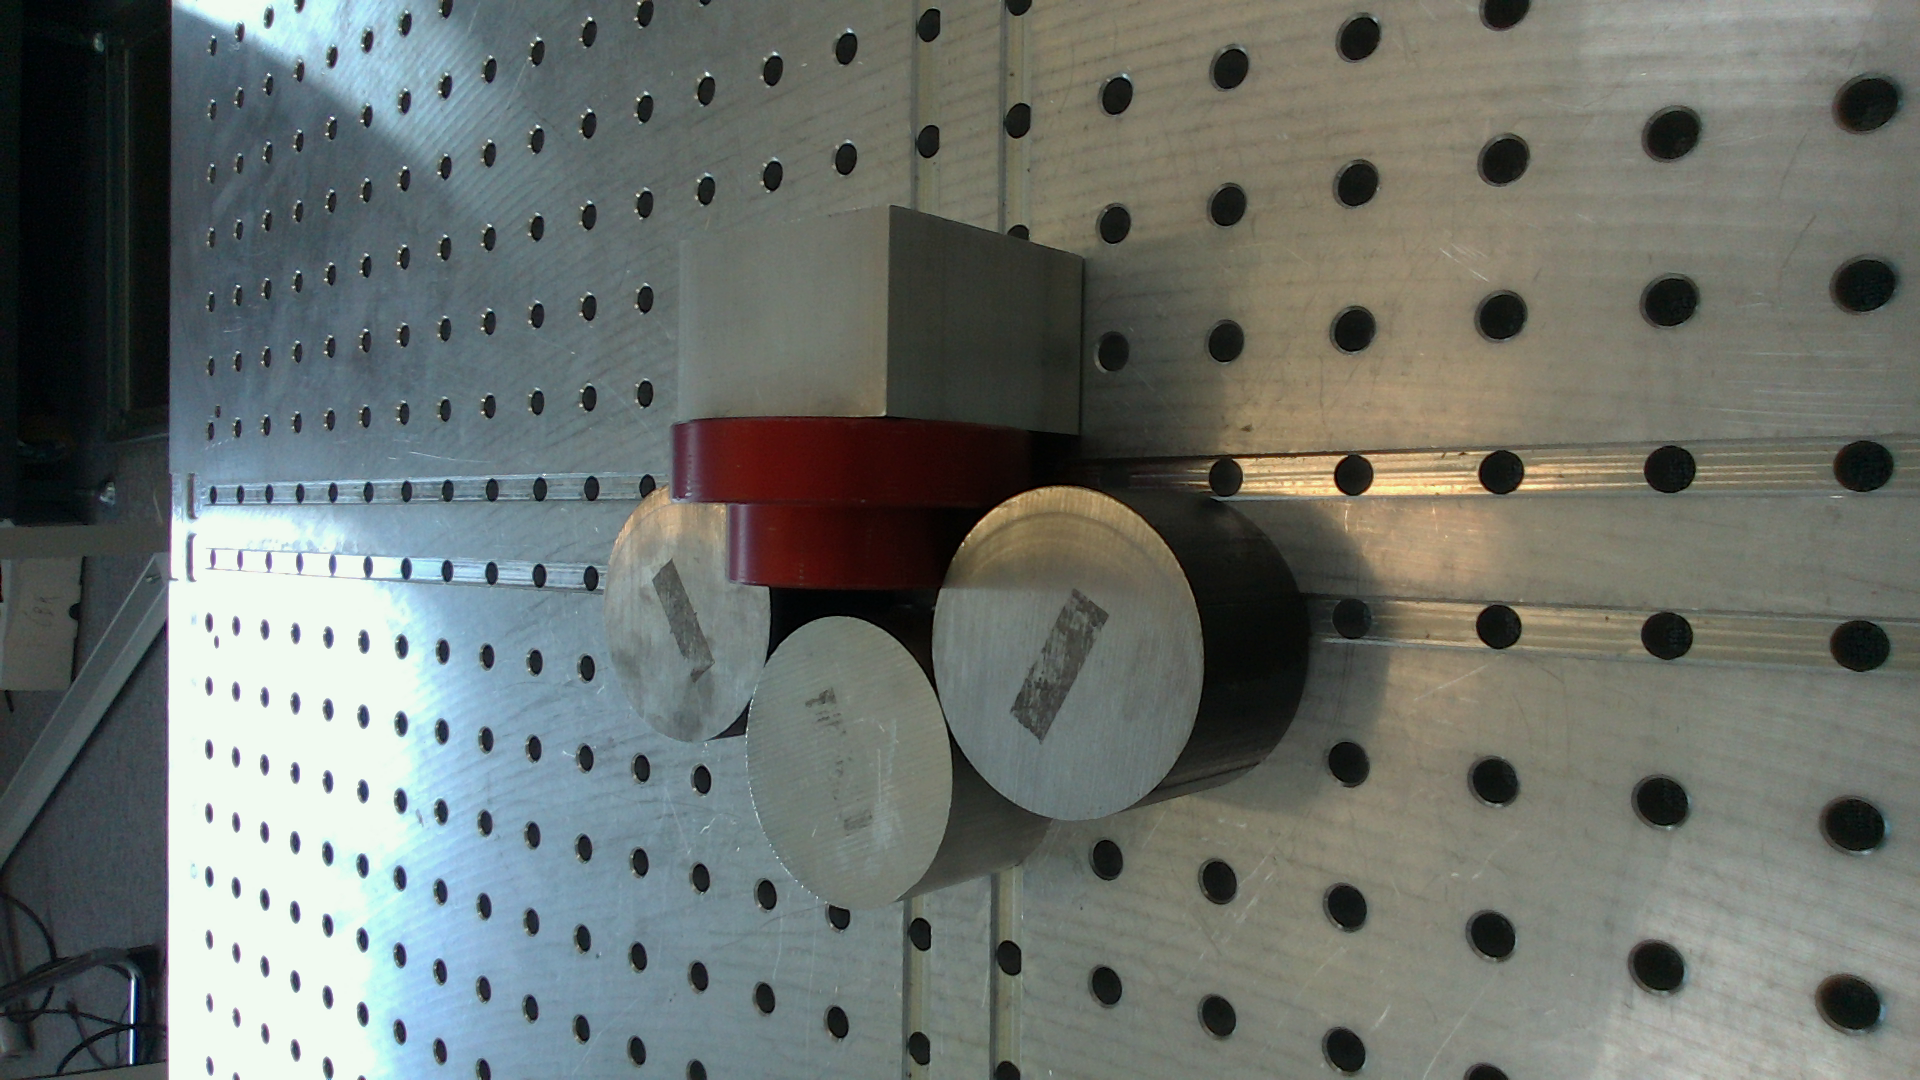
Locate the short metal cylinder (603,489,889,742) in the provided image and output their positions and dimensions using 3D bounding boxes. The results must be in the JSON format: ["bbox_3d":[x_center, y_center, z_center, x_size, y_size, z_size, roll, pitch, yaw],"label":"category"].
[{"bbox_3d":[-0.069,0.022,0.440,0.080,0.050,0.080,0,90,40],"label":"short metal cylinder"}]

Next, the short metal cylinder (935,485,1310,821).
[{"bbox_3d":[0.040,0.027,0.348,0.080,0.050,0.080,0,90,40],"label":"short metal cylinder"}]

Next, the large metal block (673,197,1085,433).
[{"bbox_3d":[-0.022,-0.056,0.379,0.080,0.080,0.050,1,91,40],"label":"large metal block"}]

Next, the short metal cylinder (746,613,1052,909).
[{"bbox_3d":[-0.016,0.060,0.395,0.080,0.050,0.080,0,90,40],"label":"short metal cylinder"}]

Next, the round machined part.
[{"bbox_3d":[-0.031,-0.009,0.373,0.098,0.098,0.042,2,91,40],"label":"round machined part"}]
